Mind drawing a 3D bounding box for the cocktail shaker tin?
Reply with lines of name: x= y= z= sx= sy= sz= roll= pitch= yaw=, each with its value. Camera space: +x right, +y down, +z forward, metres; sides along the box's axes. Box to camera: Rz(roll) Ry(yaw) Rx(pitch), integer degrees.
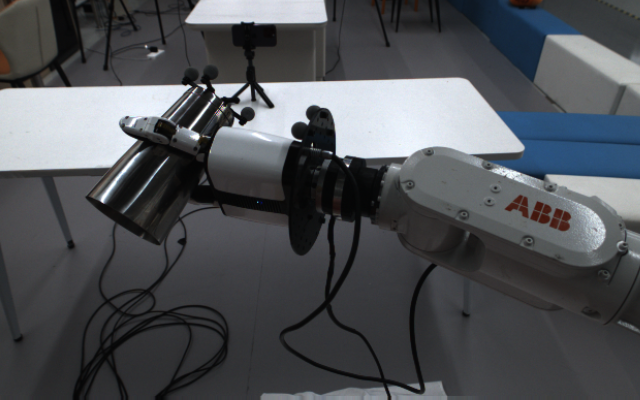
cocktail shaker tin: x=-0.169 y=-0.047 z=0.548 sx=0.093 sy=0.093 sz=0.170 roll=20 pitch=67 yaw=24
